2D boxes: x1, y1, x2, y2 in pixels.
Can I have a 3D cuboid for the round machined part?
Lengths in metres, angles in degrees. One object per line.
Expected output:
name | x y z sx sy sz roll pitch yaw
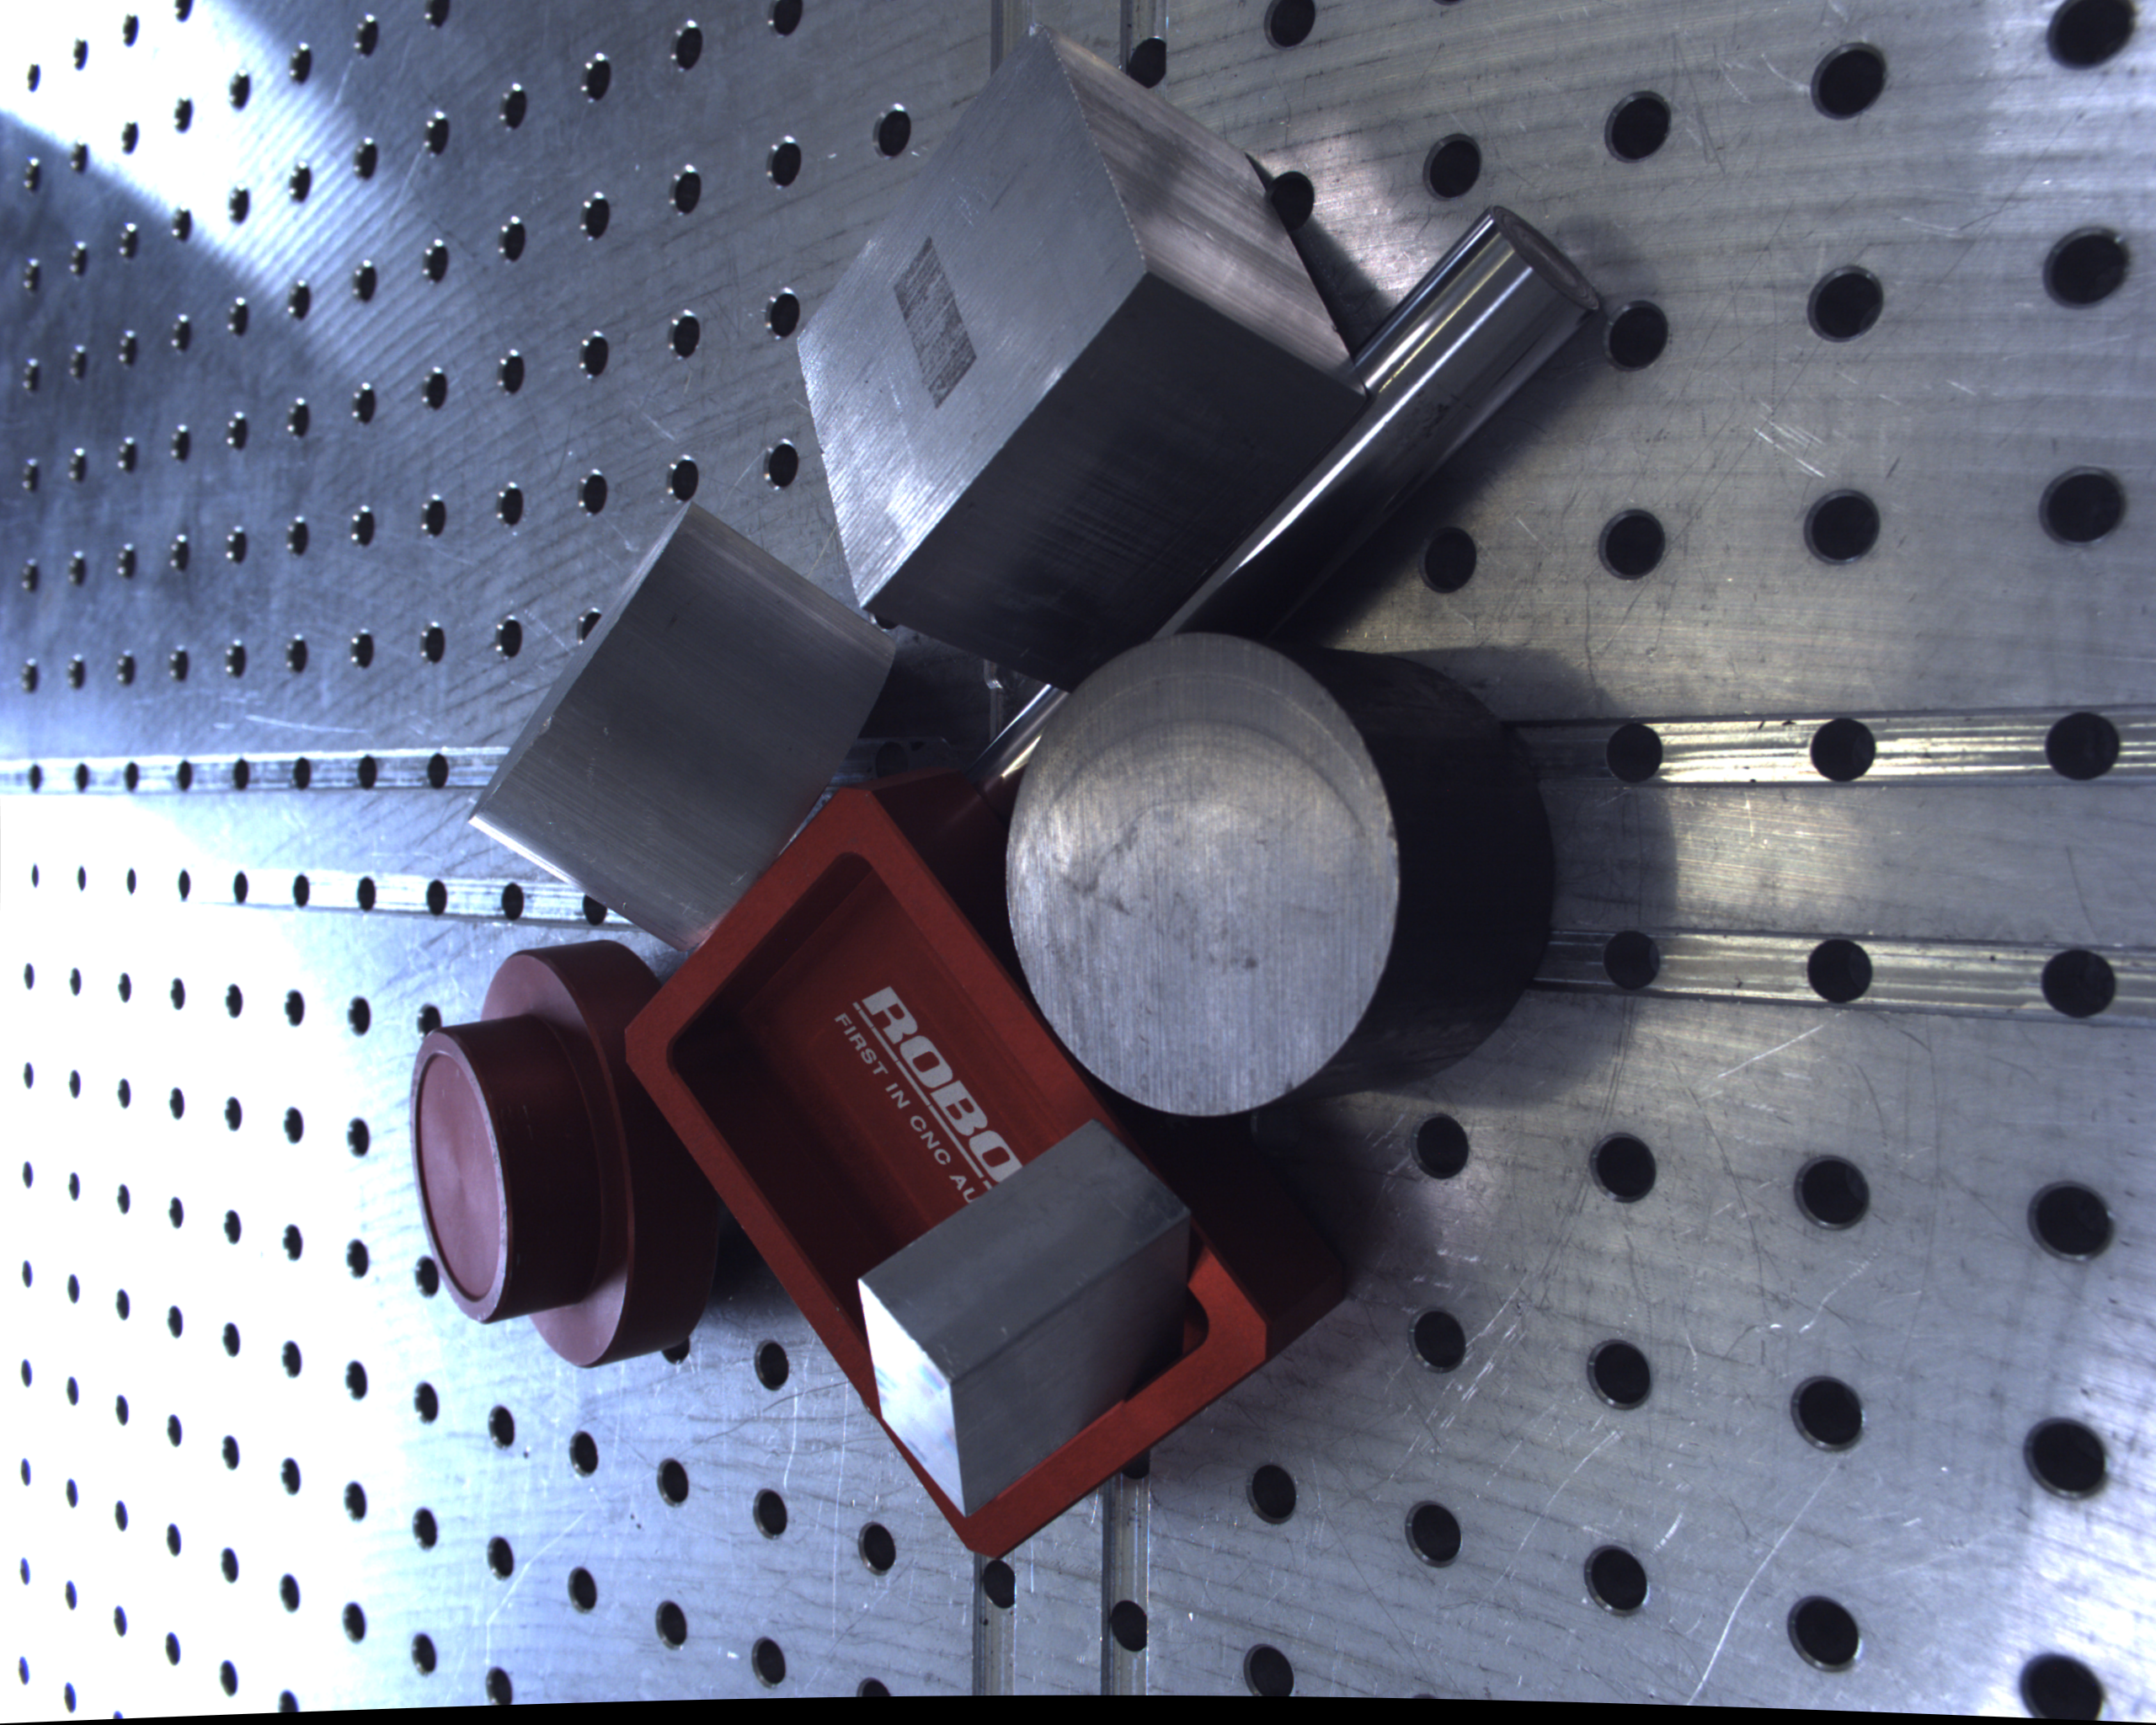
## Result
round machined part | -0.124 0.068 0.483 0.098 0.042 0.097 14 107 54

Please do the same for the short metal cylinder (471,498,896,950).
short metal cylinder | -0.082 -0.029 0.434 0.080 0.050 0.080 -49 18 22

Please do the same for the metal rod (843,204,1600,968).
metal rod | -0.013 -0.009 0.422 0.299 0.025 0.025 -45 63 31

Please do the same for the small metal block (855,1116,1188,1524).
small metal block | -0.009 0.080 0.362 0.025 0.050 0.050 41 150 30

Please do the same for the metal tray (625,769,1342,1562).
metal tray | -0.022 0.058 0.406 0.090 0.030 0.130 -45 76 31

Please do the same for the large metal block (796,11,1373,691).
large metal block | -0.003 -0.091 0.380 0.080 0.050 0.080 -44 44 31

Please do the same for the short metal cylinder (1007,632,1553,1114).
short metal cylinder | 0.034 0.002 0.364 0.080 0.050 0.079 0 90 40
